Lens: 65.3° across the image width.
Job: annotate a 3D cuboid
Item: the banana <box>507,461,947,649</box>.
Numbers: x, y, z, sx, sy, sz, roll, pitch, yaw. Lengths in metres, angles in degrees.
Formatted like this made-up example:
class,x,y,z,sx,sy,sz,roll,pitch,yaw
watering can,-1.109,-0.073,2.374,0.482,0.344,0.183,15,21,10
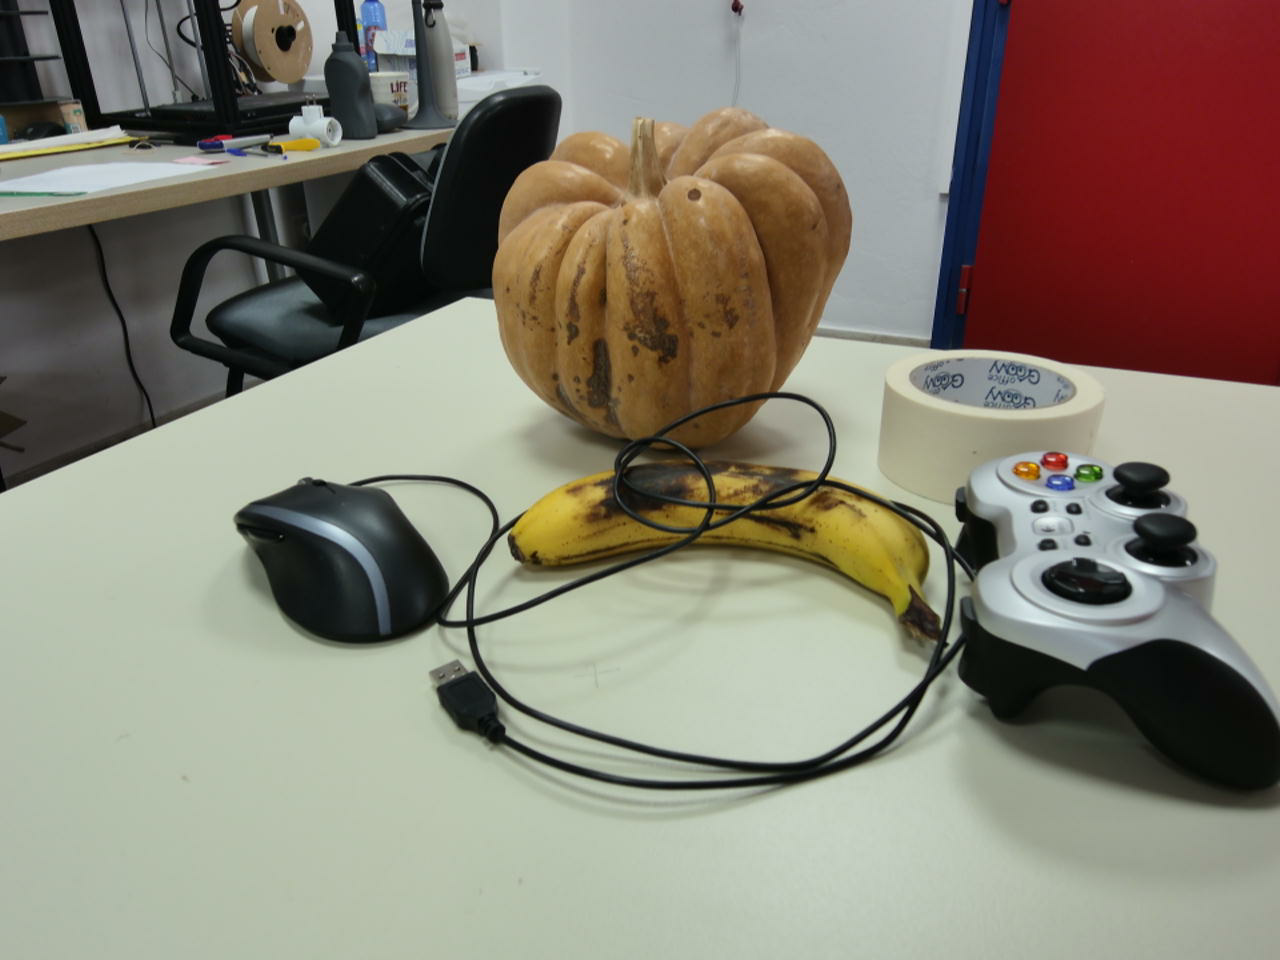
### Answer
class,x,y,z,sx,sy,sz,roll,pitch,yaw
banana,0.043,0.022,0.435,0.187,0.039,0.094,10,25,22
